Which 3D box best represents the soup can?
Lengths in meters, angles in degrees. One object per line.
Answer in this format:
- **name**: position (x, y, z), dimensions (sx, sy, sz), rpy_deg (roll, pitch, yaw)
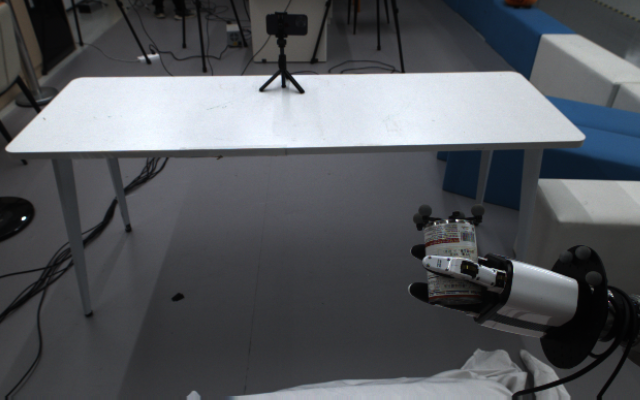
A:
- **soup can**: position (0.174, 0.082, 0.630), dimensions (0.067, 0.067, 0.101), rpy_deg (1, 73, -2)
